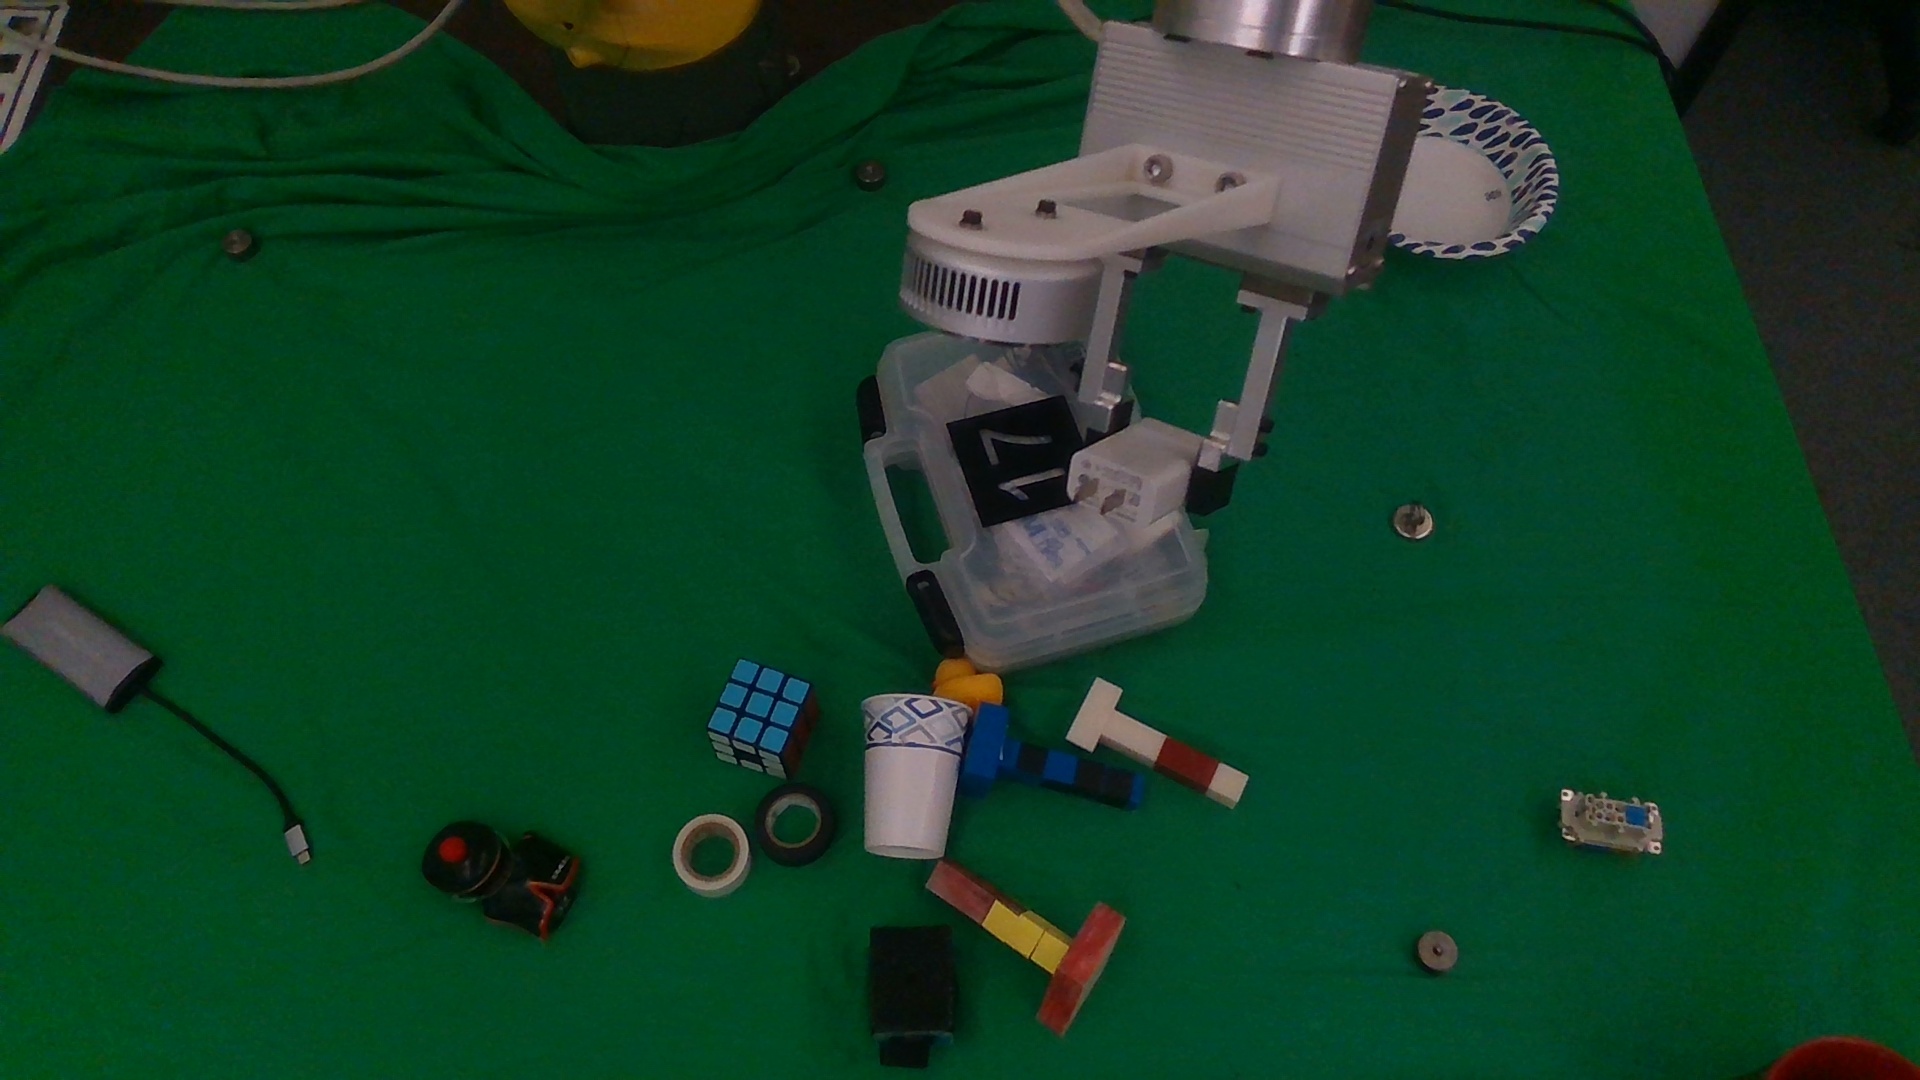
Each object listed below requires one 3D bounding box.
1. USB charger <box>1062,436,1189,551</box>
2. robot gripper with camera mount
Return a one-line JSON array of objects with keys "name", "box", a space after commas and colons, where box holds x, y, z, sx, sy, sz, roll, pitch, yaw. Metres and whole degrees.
[{"name": "USB charger", "box": [0.067, -0.019, 0.557, 0.045, 0.029, 0.075, 25, 25, 13]}, {"name": "robot gripper with camera mount", "box": [0.047, -0.069, 0.480, 0.119, 0.158, 0.193, 28, 30, 27]}]
